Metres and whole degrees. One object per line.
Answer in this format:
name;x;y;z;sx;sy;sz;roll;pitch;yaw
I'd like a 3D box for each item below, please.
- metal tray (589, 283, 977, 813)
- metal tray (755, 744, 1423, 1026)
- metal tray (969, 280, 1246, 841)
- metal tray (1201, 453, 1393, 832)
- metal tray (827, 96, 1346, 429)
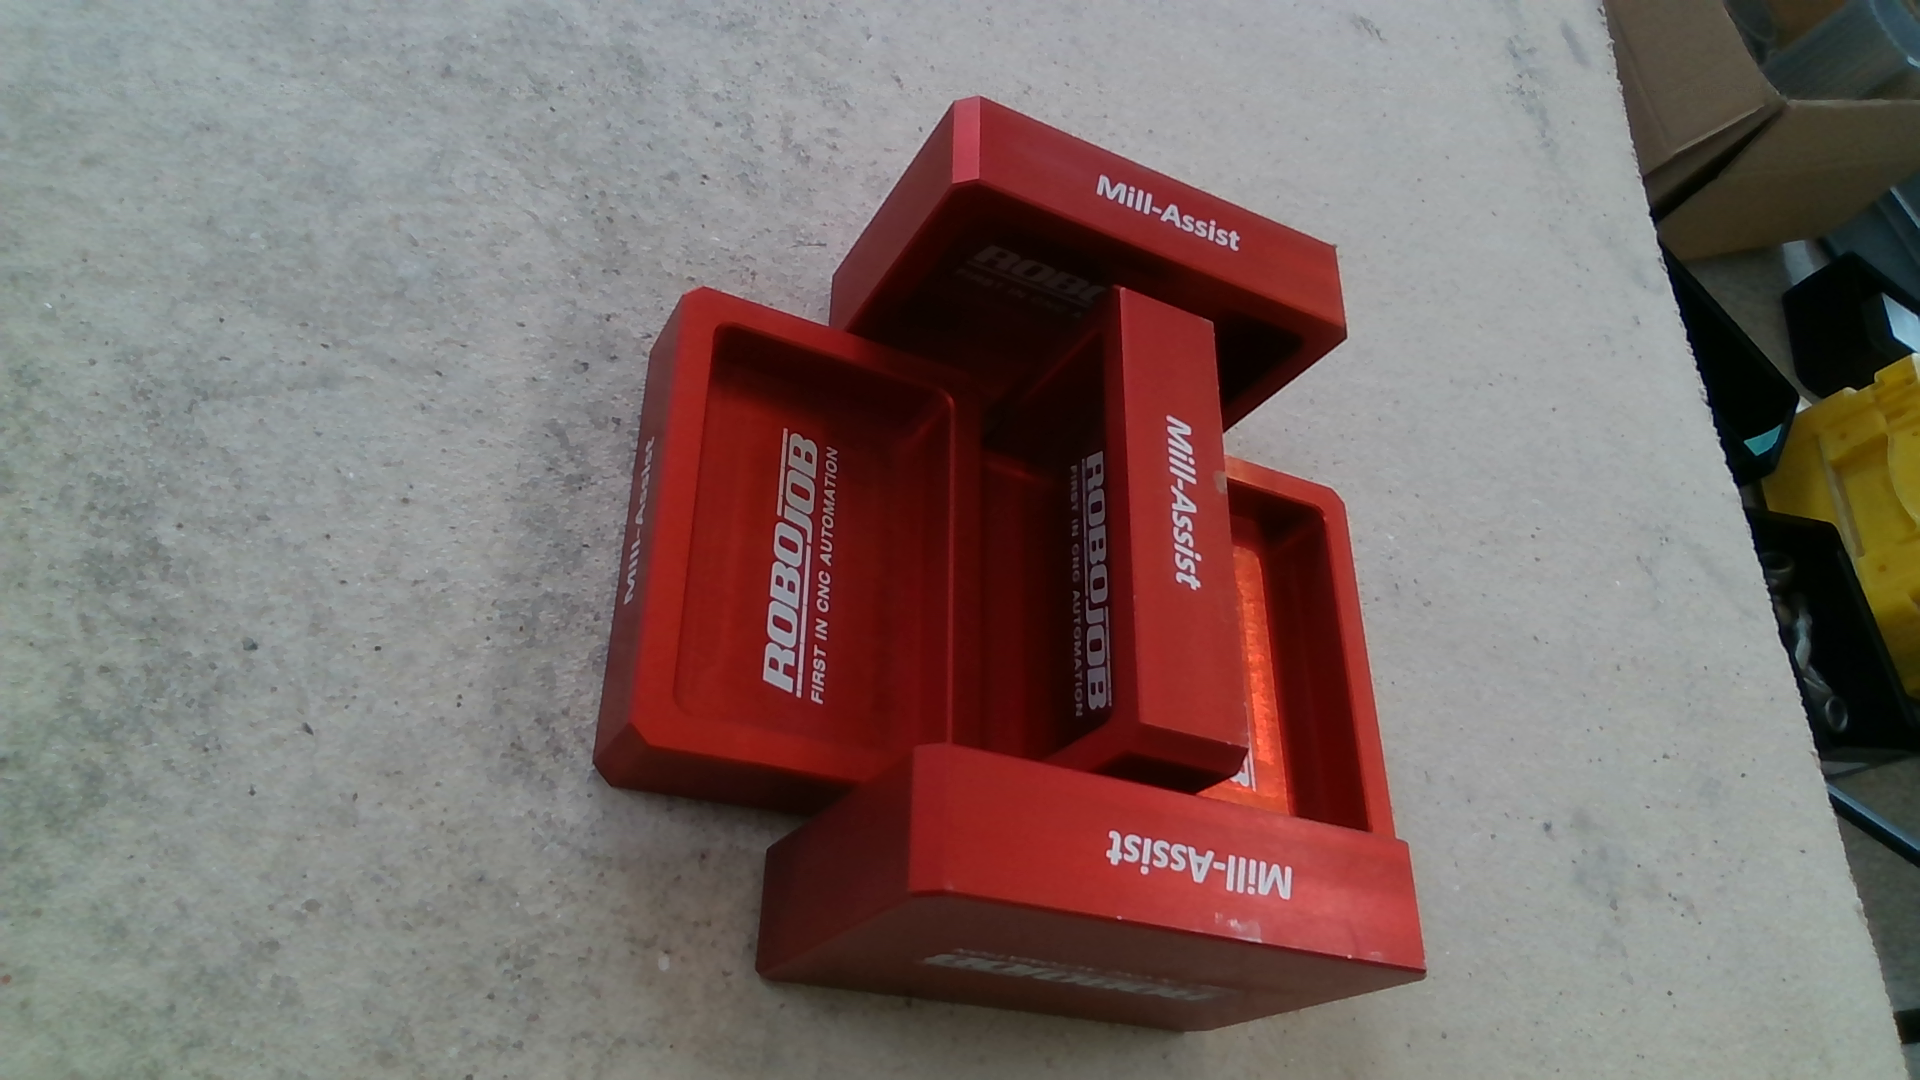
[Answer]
metal tray;-0.042;0.004;0.364;0.090;0.030;0.130;15;58;-26
metal tray;0.029;0.086;0.323;0.130;0.090;0.030;15;58;-24
metal tray;0.032;0.009;0.368;0.030;0.090;0.130;15;59;-23
metal tray;0.080;0.035;0.420;0.090;0.030;0.130;13;59;-22
metal tray;0.036;-0.070;0.411;0.130;0.090;0.030;15;59;-24
